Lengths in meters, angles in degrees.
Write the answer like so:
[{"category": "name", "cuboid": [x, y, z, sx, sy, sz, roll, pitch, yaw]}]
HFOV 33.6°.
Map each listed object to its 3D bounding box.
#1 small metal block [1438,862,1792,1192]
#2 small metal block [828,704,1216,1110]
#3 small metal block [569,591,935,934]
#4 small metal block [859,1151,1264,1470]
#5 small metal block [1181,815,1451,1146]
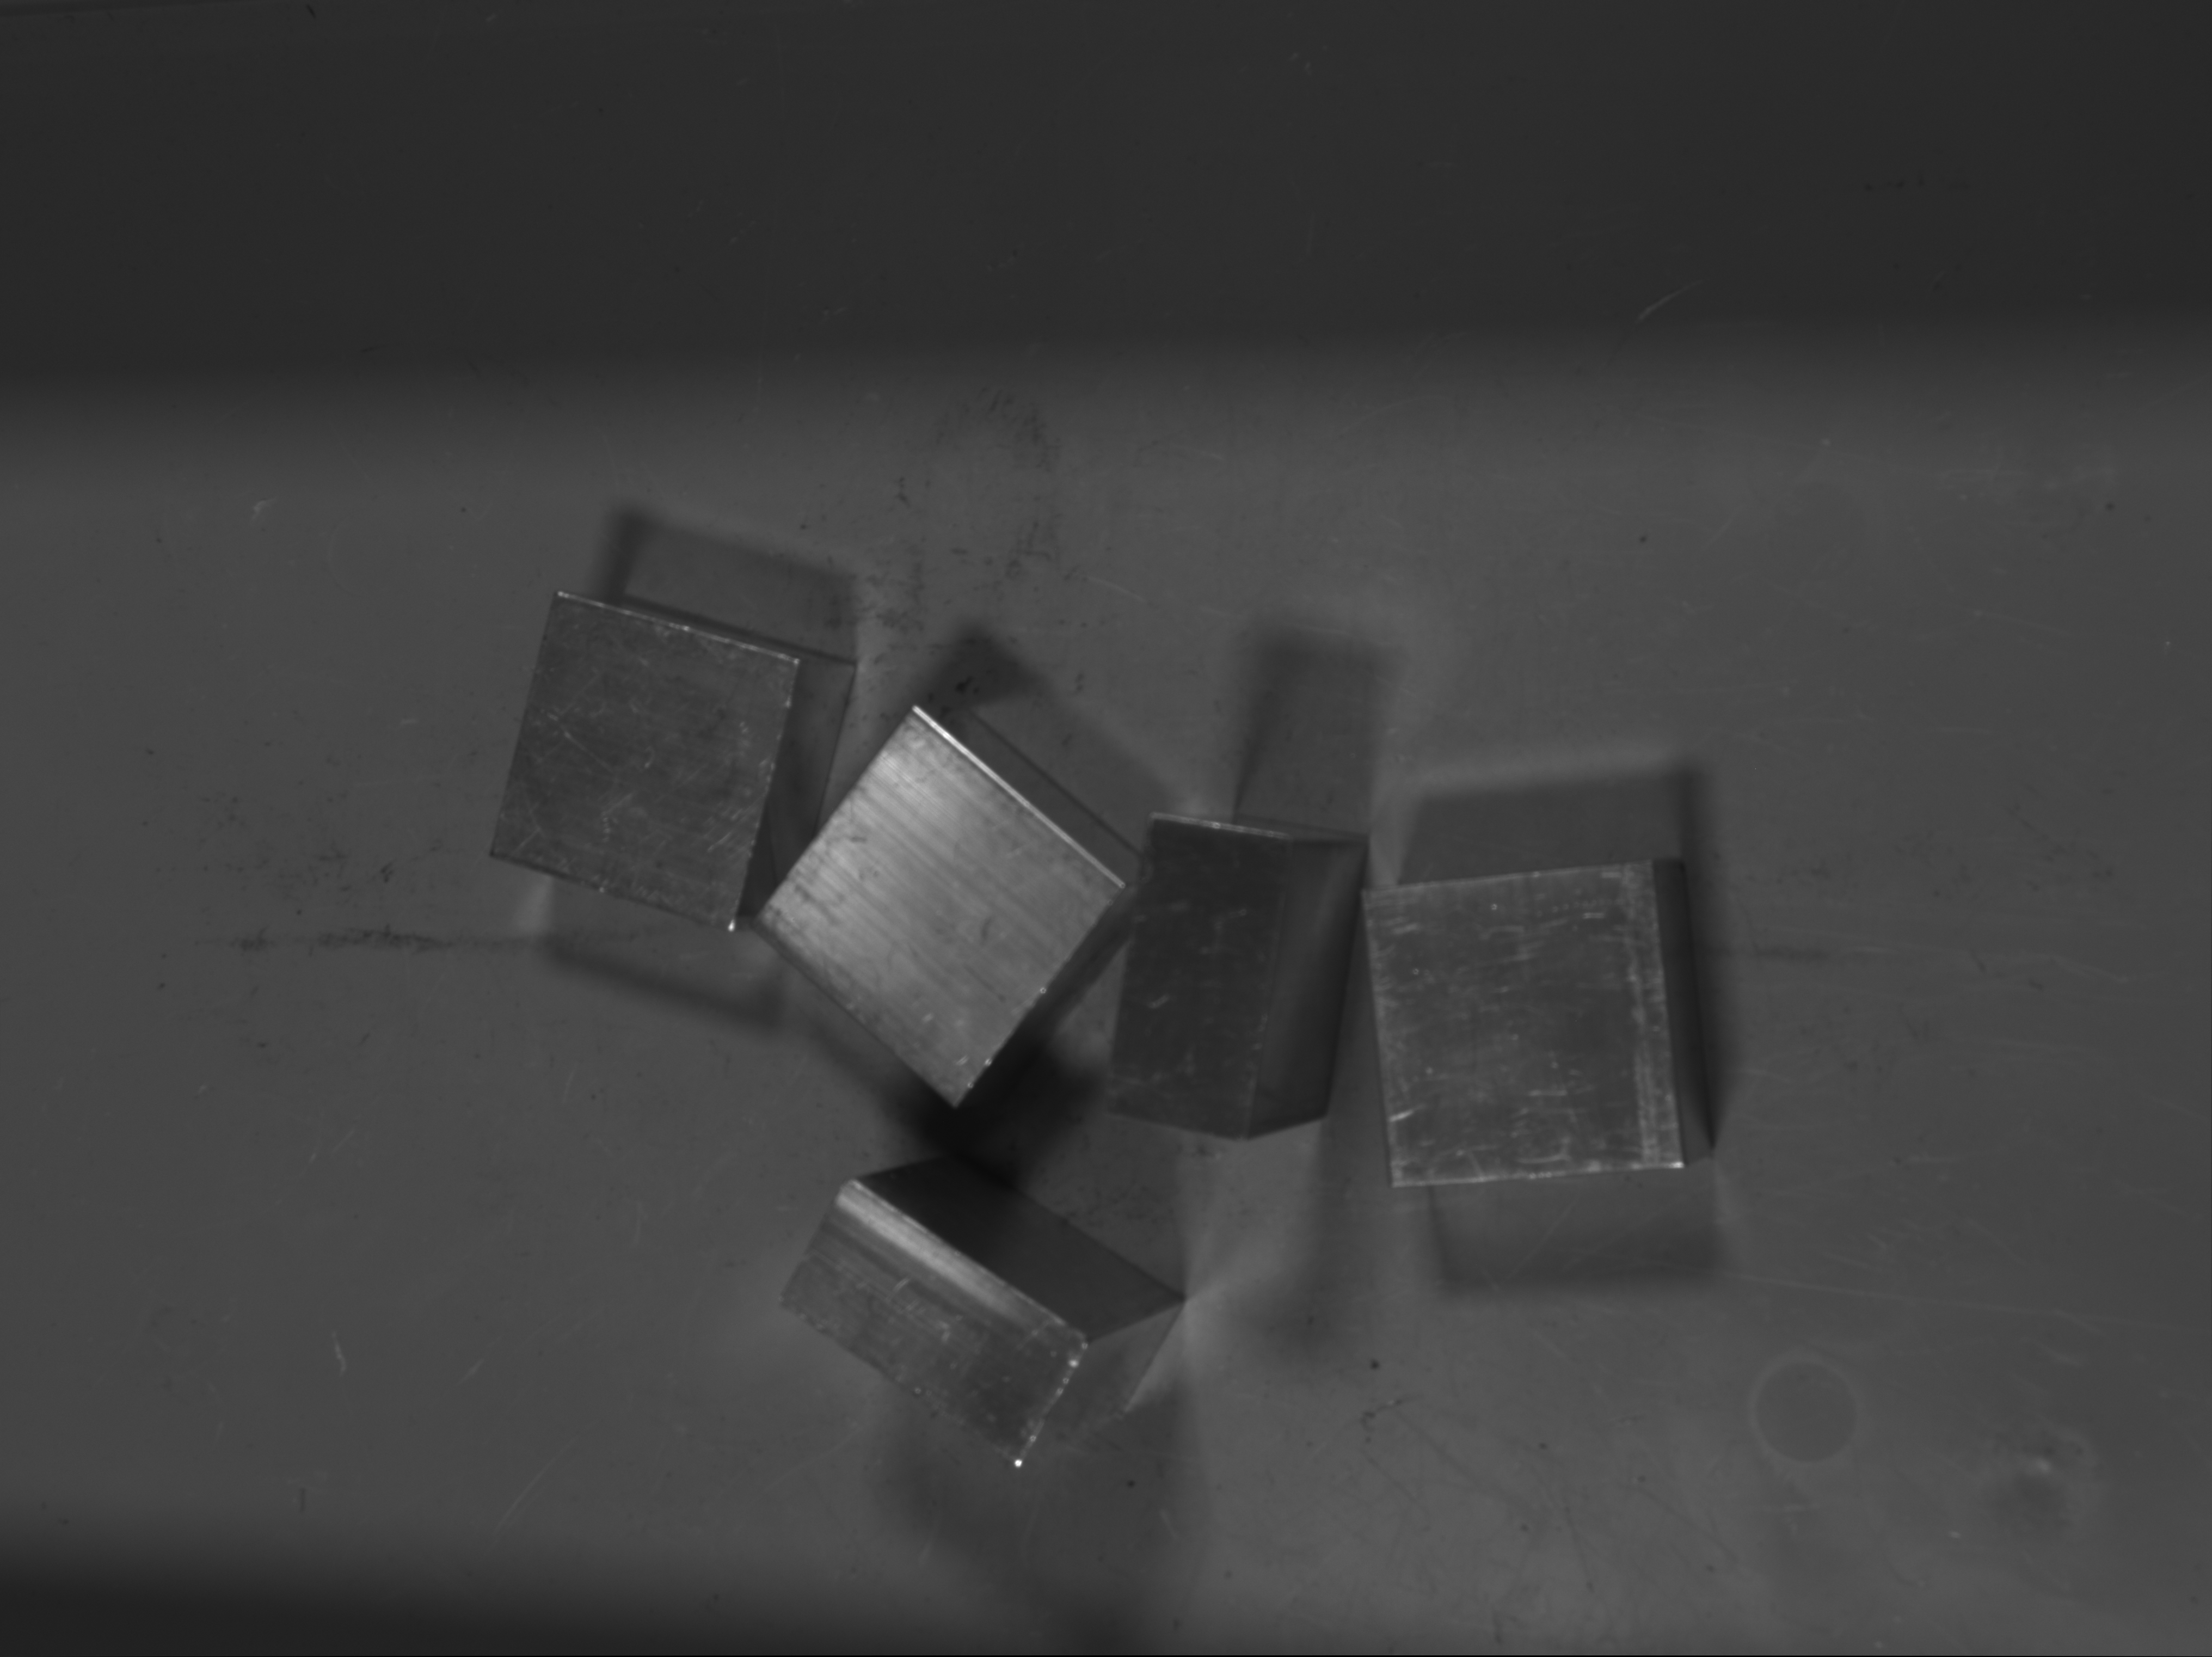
[{"category": "small metal block", "cuboid": [0.085, 0.033, 0.612, 0.050, 0.025, 0.050, -6, 88, 20]}, {"category": "small metal block", "cuboid": [-0.012, 0.014, 0.646, 0.050, 0.025, 0.050, 40, 102, 15]}, {"category": "small metal block", "cuboid": [-0.064, -0.012, 0.665, 0.050, 0.025, 0.050, 16, 95, 19]}, {"category": "small metal block", "cuboid": [-0.007, 0.082, 0.631, 0.050, 0.050, 0.025, 32, 101, 16]}, {"category": "small metal block", "cuboid": [0.036, 0.025, 0.617, 0.025, 0.050, 0.050, 10, 93, 19]}]
